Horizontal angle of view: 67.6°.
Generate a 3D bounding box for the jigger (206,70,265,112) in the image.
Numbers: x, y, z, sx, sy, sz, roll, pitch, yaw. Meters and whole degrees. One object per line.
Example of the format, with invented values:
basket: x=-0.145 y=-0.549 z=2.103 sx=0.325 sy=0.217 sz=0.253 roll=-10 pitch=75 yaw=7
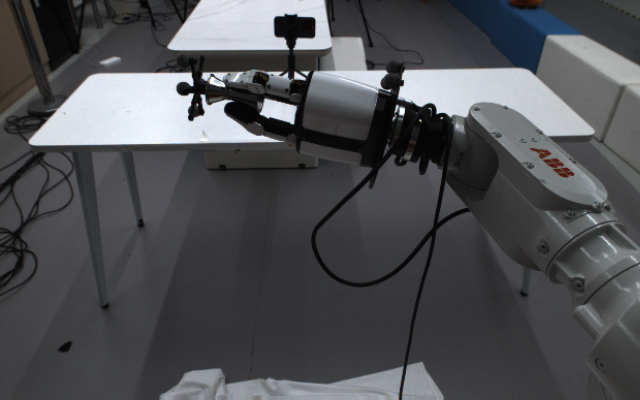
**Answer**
jigger: x=-0.105 y=-0.143 z=0.628 sx=0.071 sy=0.043 sz=0.043 roll=7 pitch=35 yaw=2
